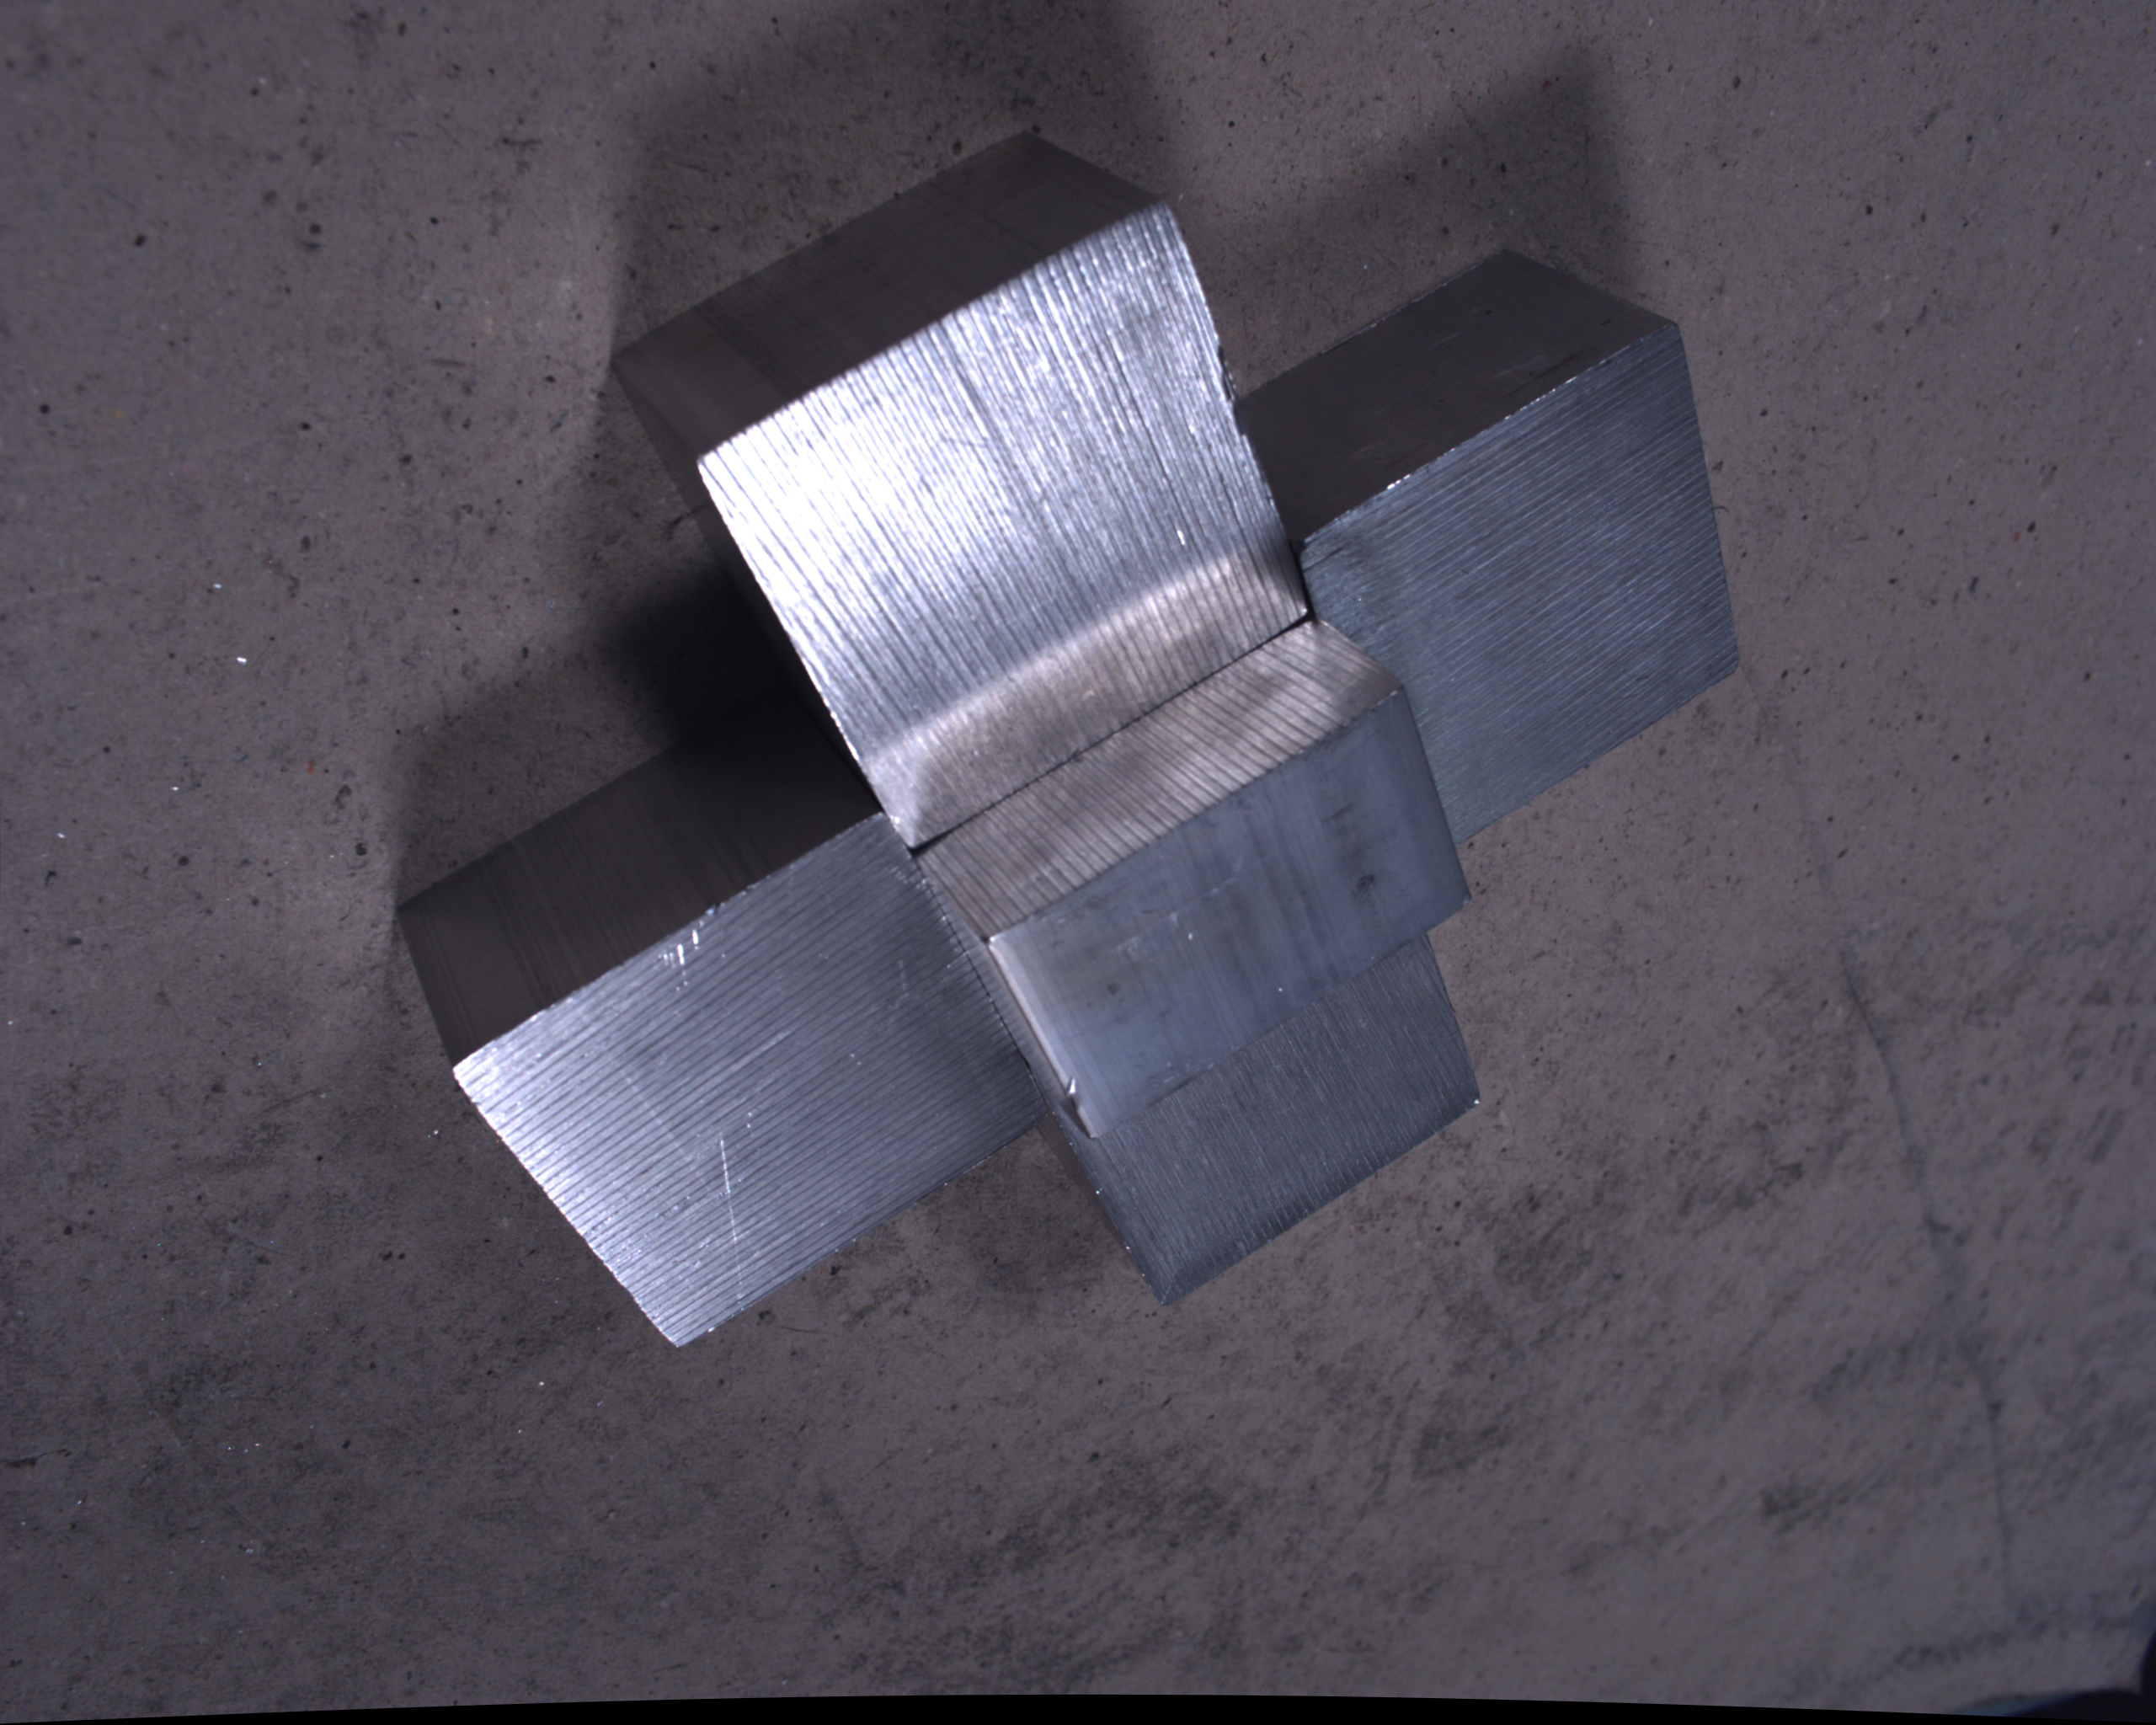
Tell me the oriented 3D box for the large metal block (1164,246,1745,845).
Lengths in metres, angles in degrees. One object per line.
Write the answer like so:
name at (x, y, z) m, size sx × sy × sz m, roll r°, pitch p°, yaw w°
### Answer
large metal block at (0.073, -0.057, 0.398) m, size 0.080 × 0.050 × 0.080 m, roll -32°, pitch 129°, yaw -8°

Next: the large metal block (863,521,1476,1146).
large metal block at (0.010, -0.009, 0.374) m, size 0.080 × 0.080 × 0.050 m, roll -32°, pitch 129°, yaw -8°

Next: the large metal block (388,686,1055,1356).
large metal block at (-0.062, 0.028, 0.376) m, size 0.080 × 0.050 × 0.080 m, roll -32°, pitch 129°, yaw -8°

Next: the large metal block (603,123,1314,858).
large metal block at (-0.018, -0.061, 0.345) m, size 0.080 × 0.050 × 0.080 m, roll -32°, pitch 129°, yaw -8°

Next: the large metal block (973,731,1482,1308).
large metal block at (0.027, 0.030, 0.426) m, size 0.080 × 0.050 × 0.080 m, roll -32°, pitch 129°, yaw -8°
